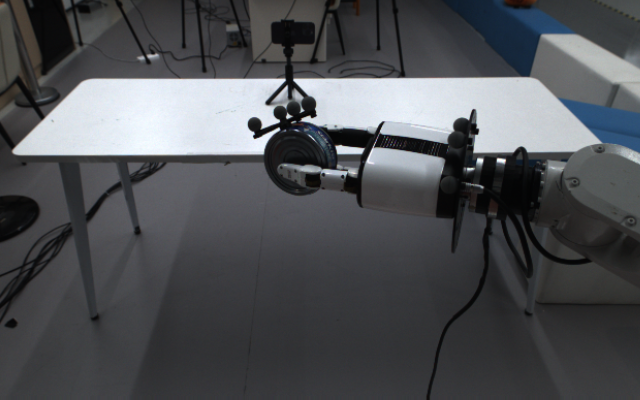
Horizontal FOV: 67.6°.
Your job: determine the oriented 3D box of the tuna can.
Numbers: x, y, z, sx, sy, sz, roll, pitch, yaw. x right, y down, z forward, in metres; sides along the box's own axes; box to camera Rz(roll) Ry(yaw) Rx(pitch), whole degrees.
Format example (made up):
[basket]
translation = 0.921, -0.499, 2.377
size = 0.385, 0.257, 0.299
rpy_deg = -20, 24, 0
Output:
[tuna can]
translation = -0.020, -0.044, 0.585
size = 0.085, 0.085, 0.034
rpy_deg = 15, 29, 17
